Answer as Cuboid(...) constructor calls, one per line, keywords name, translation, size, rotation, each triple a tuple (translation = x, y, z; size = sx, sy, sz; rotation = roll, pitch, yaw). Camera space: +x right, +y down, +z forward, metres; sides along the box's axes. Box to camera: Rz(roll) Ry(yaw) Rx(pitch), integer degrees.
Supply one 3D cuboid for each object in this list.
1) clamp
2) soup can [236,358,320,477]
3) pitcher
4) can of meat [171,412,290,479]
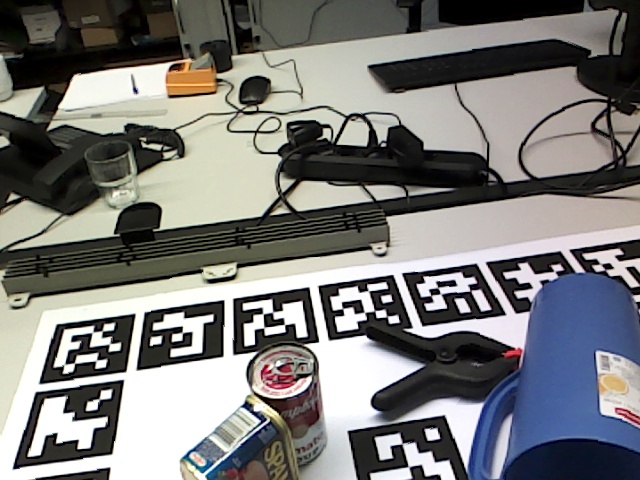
Cuboid(name="clamp", translation=(0.112, 0.151, 0.681), size=(0.165, 0.036, 0.122), rotation=(-4, 32, -4))
Cuboid(name="soup can", translation=(-0.038, 0.174, 0.602), size=(0.068, 0.101, 0.068), rotation=(-6, 38, 4))
Cuboid(name="pitcher", translation=(0.233, 0.150, 0.562), size=(0.189, 0.133, 0.242), rotation=(-15, 23, 26))
Cuboid(name="can of meat", translation=(-0.076, 0.217, 0.541), size=(0.083, 0.101, 0.058), rotation=(-35, 46, -29))
